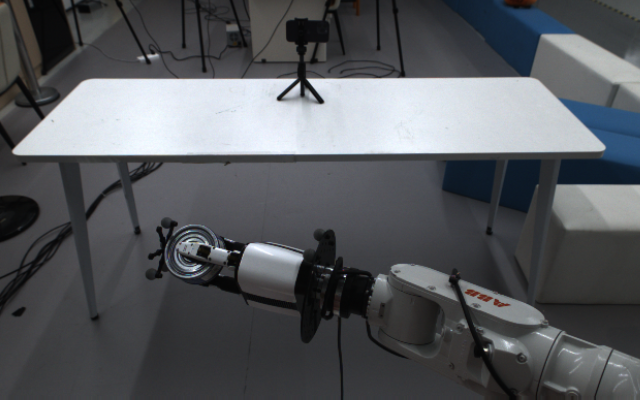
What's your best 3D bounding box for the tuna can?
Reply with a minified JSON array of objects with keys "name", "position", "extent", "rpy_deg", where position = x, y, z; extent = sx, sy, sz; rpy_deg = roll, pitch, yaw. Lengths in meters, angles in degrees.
[{"name":"tuna can","position":[-0.182,0.083,0.710],"extent":[0.085,0.034,0.085],"rpy_deg":[-2,70,7]}]
